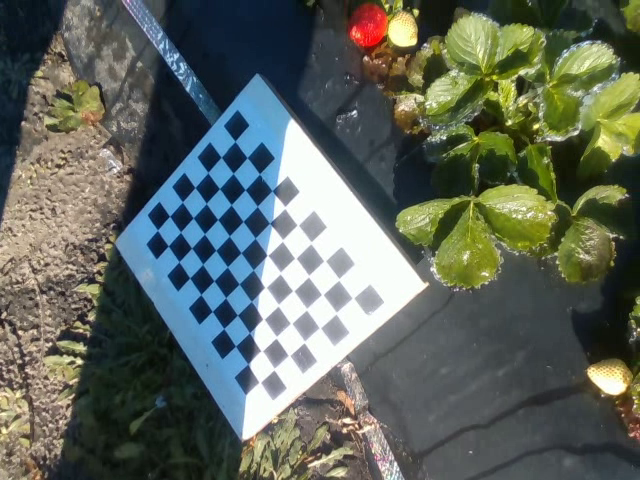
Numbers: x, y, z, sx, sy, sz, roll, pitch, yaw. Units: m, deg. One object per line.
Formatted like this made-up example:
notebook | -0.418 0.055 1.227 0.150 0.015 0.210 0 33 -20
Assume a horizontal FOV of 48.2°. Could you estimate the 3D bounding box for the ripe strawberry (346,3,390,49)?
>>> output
ripe strawberry | 0.036 -0.187 0.629 0.040 0.042 0.053 14 34 24
